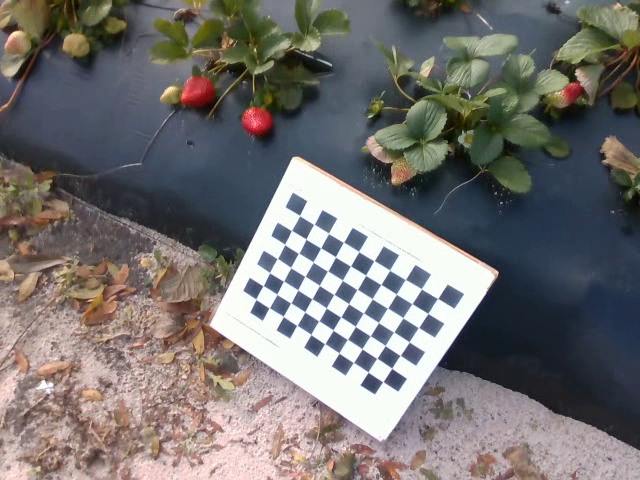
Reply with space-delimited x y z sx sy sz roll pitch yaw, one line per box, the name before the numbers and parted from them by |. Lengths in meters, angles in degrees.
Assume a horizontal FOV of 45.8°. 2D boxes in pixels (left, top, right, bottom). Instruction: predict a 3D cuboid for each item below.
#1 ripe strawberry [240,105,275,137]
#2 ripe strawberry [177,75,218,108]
ripe strawberry | -0.057 -0.118 0.732 0.033 0.037 0.039 34 28 -6
ripe strawberry | -0.117 -0.150 0.748 0.035 0.041 0.036 17 36 22
